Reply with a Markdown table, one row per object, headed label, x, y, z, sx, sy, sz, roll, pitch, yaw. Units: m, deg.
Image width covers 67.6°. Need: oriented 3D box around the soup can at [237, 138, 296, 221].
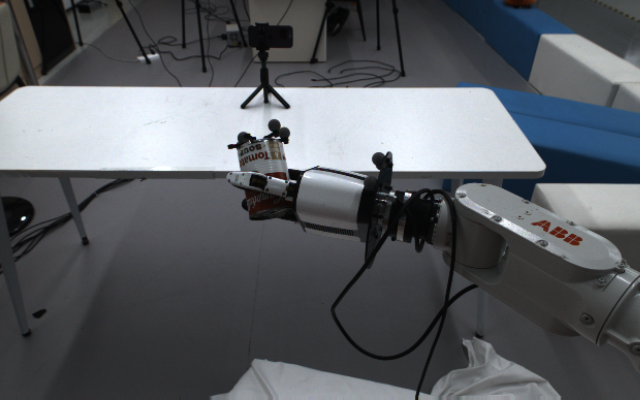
| label | x | y | z | sx | sy | sz | roll | pitch | yaw |
| --- | --- | --- | --- | --- | --- | --- | --- | --- | --- |
| soup can | -0.075 | -0.027 | 0.683 | 0.067 | 0.067 | 0.101 | -10 | 80 | -17 |
